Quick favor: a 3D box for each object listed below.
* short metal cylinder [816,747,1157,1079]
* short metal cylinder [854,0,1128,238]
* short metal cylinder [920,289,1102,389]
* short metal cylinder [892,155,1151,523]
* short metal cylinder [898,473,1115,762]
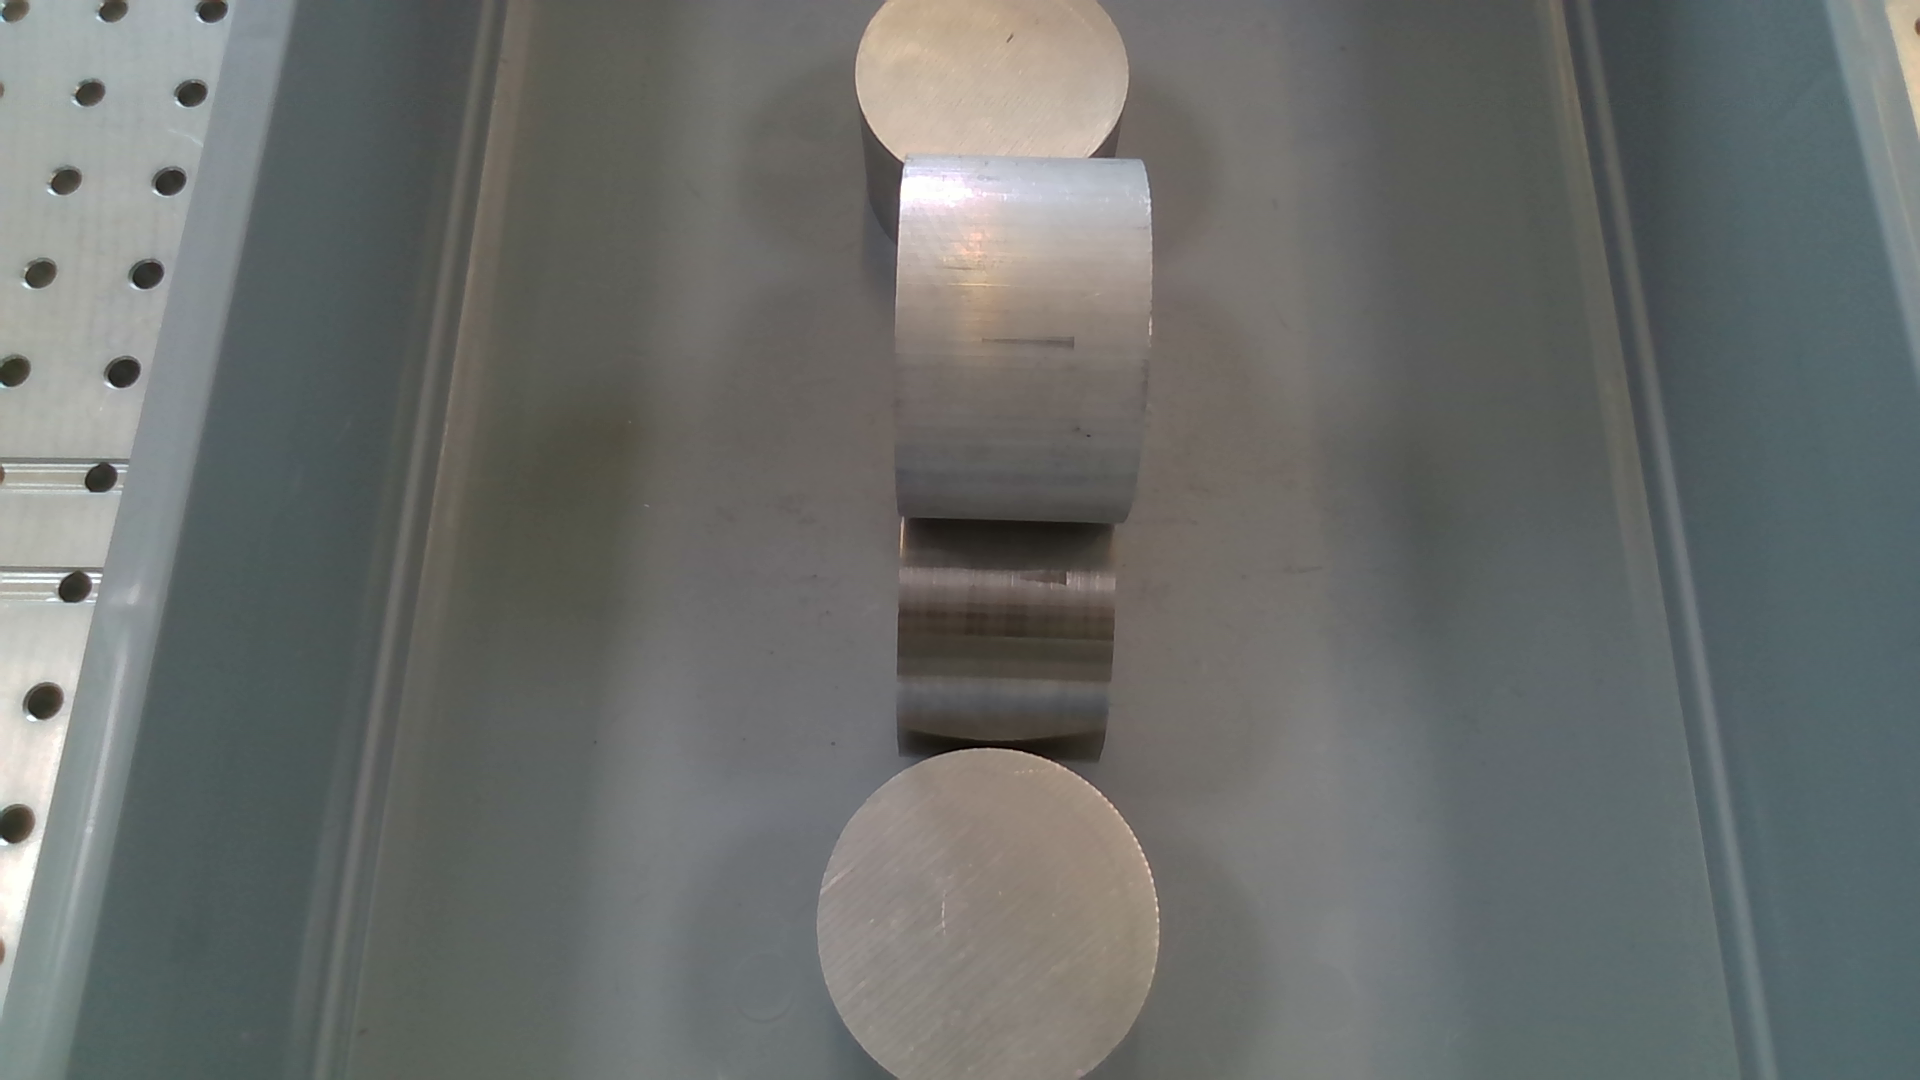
[{"bbox_3d":[0.006,0.097,0.347,0.080,0.050,0.080,0,70,0],"label":"short metal cylinder"},{"bbox_3d":[0.009,-0.129,0.427,0.080,0.050,0.080,0,70,0],"label":"short metal cylinder"},{"bbox_3d":[0.013,-0.059,0.386,0.050,0.080,0.080,2,70,0],"label":"short metal cylinder"},{"bbox_3d":[0.012,-0.044,0.308,0.050,0.080,0.080,2,70,0],"label":"short metal cylinder"},{"bbox_3d":[0.011,0.017,0.359,0.050,0.080,0.080,2,70,0],"label":"short metal cylinder"}]
